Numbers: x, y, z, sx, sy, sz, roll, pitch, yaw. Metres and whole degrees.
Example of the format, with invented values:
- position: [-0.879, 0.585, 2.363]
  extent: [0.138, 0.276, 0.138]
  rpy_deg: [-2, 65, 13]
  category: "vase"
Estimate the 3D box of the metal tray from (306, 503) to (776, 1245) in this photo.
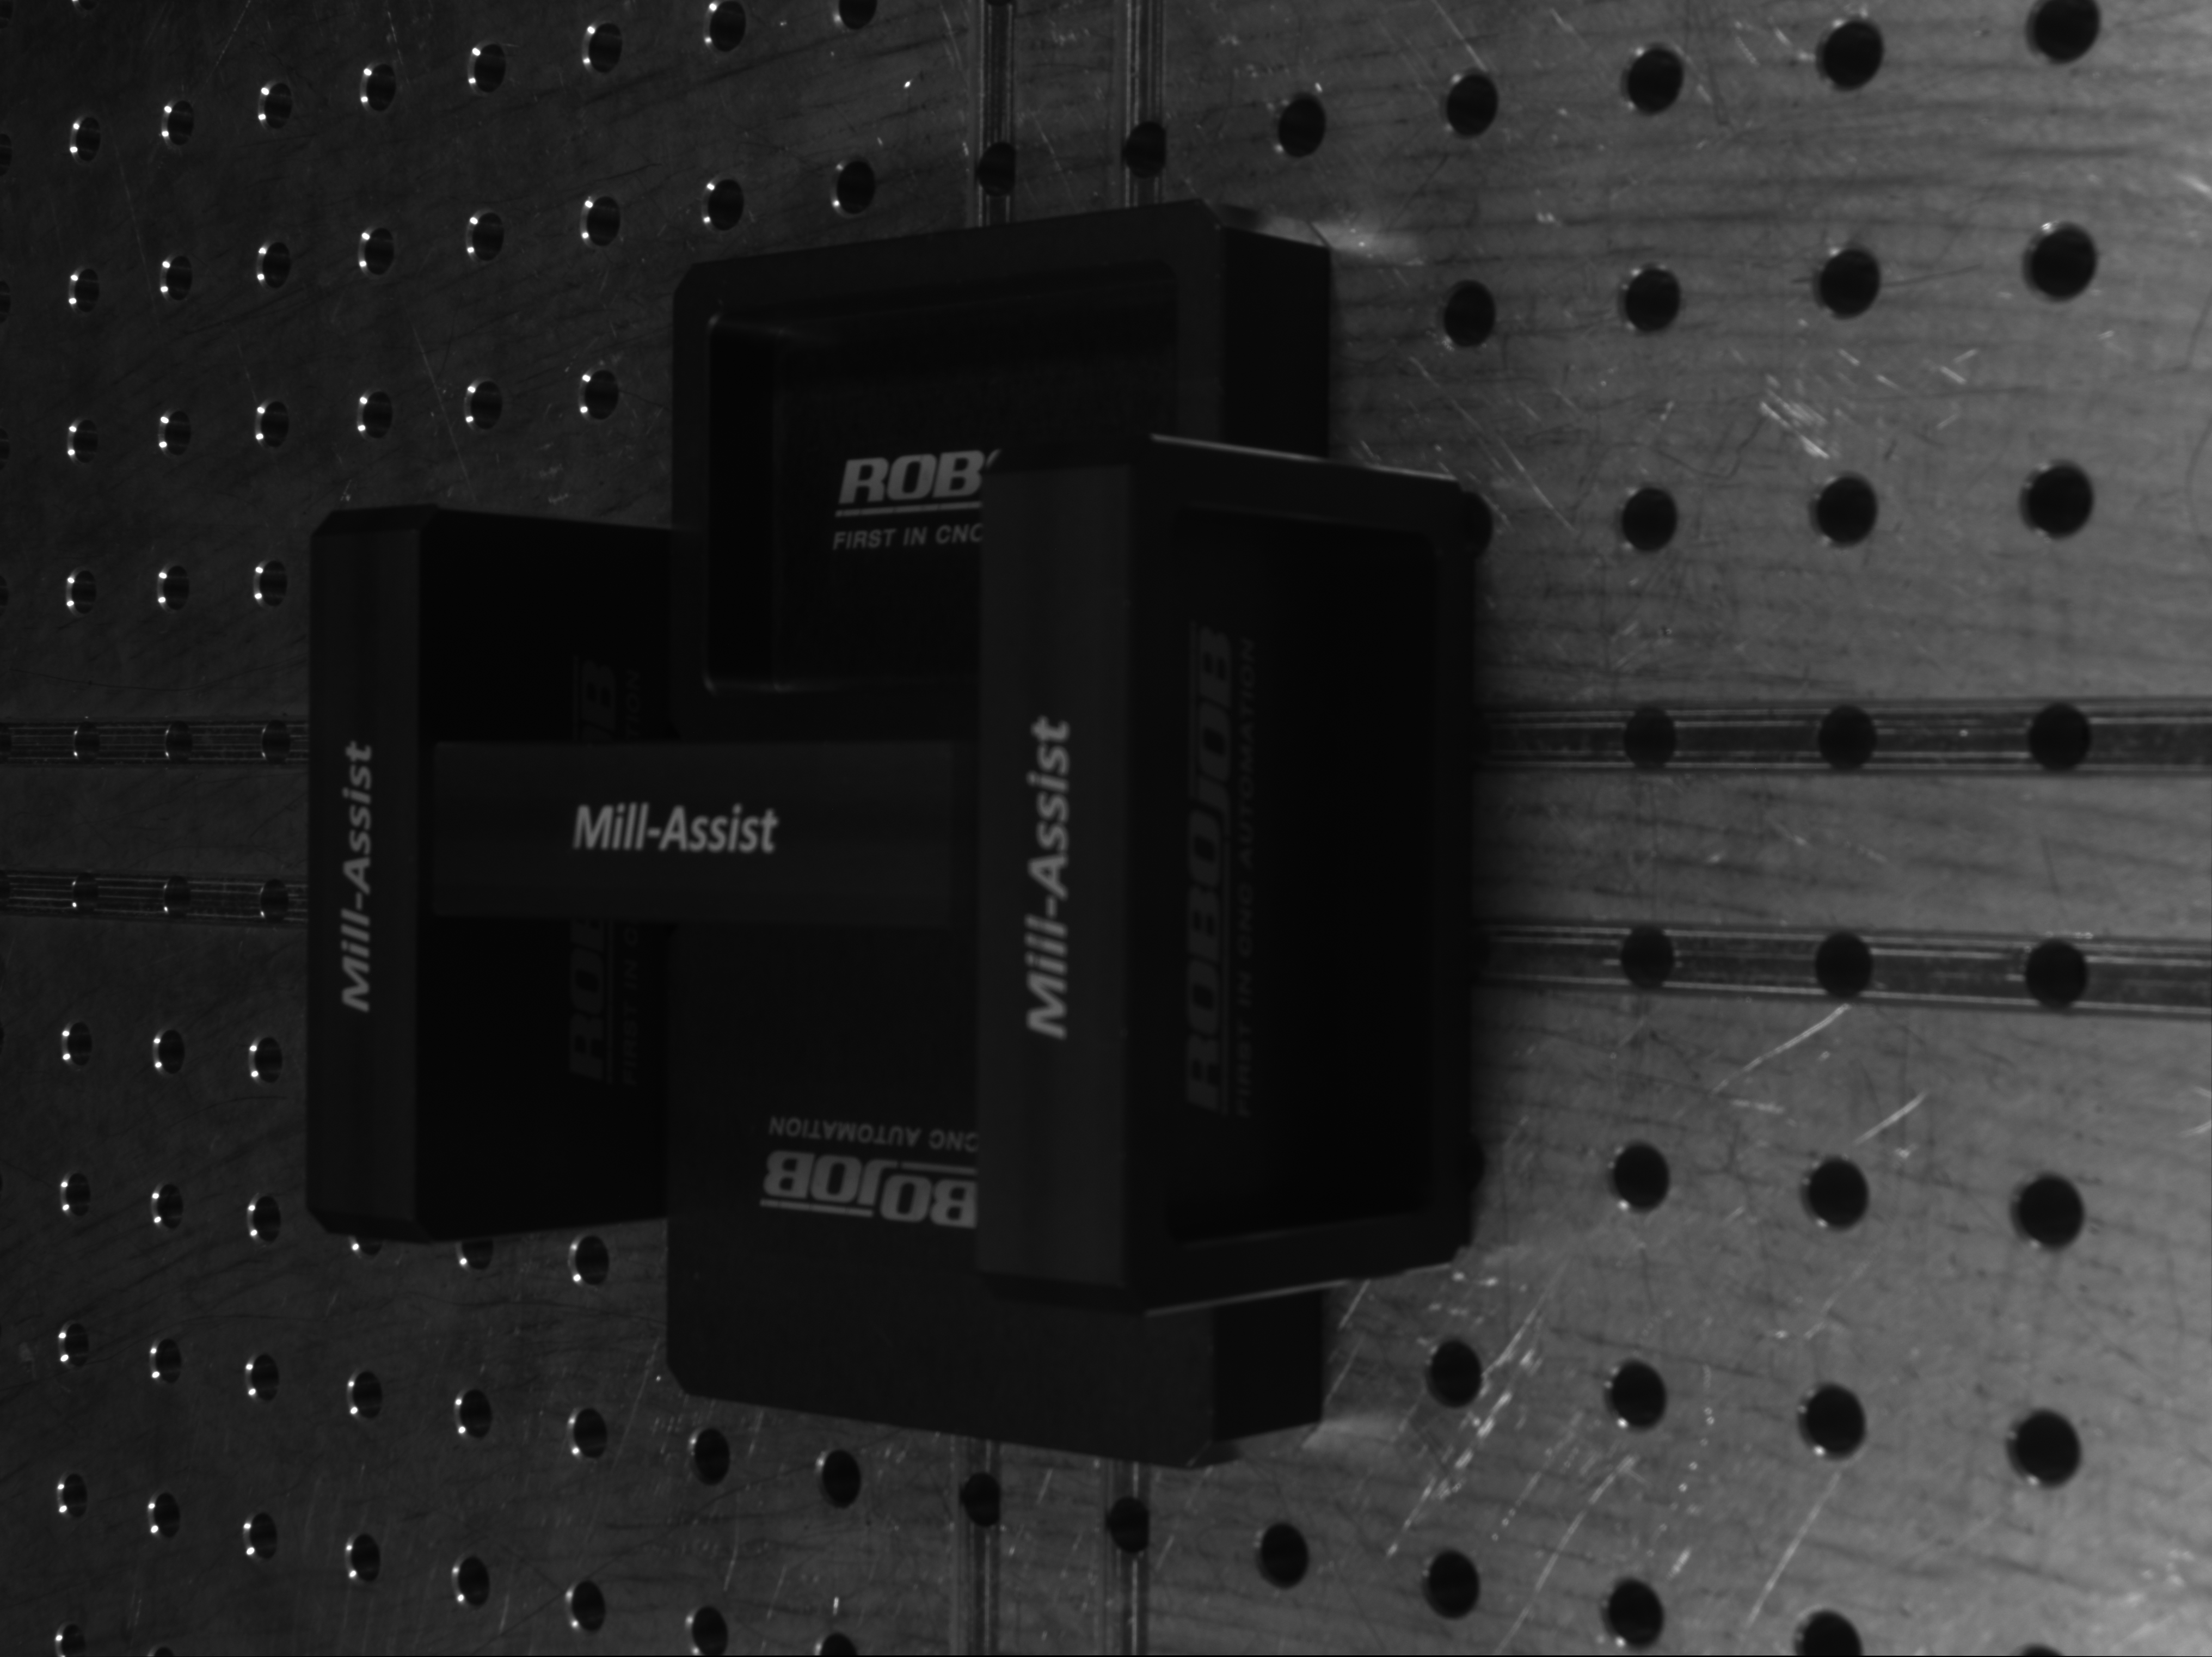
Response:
- position: [-0.103, 0.008, 0.681]
  extent: [0.030, 0.090, 0.130]
  rpy_deg: [1, 90, 39]
  category: "metal tray"

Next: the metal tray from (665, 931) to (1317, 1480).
- position: [-0.023, 0.062, 0.653]
  extent: [0.130, 0.030, 0.090]
  rpy_deg: [1, 90, 39]
  category: "metal tray"

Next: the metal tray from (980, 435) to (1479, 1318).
- position: [0.021, 0.007, 0.579]
  extent: [0.030, 0.090, 0.130]
  rpy_deg: [1, 90, 39]
  category: "metal tray"

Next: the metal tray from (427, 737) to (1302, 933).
- position: [-0.042, 0.000, 0.630]
  extent: [0.130, 0.090, 0.030]
  rpy_deg: [1, 90, 39]
  category: "metal tray"

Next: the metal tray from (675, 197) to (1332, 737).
- position: [-0.021, -0.060, 0.653]
  extent: [0.130, 0.030, 0.090]
  rpy_deg: [1, 90, 39]
  category: "metal tray"
